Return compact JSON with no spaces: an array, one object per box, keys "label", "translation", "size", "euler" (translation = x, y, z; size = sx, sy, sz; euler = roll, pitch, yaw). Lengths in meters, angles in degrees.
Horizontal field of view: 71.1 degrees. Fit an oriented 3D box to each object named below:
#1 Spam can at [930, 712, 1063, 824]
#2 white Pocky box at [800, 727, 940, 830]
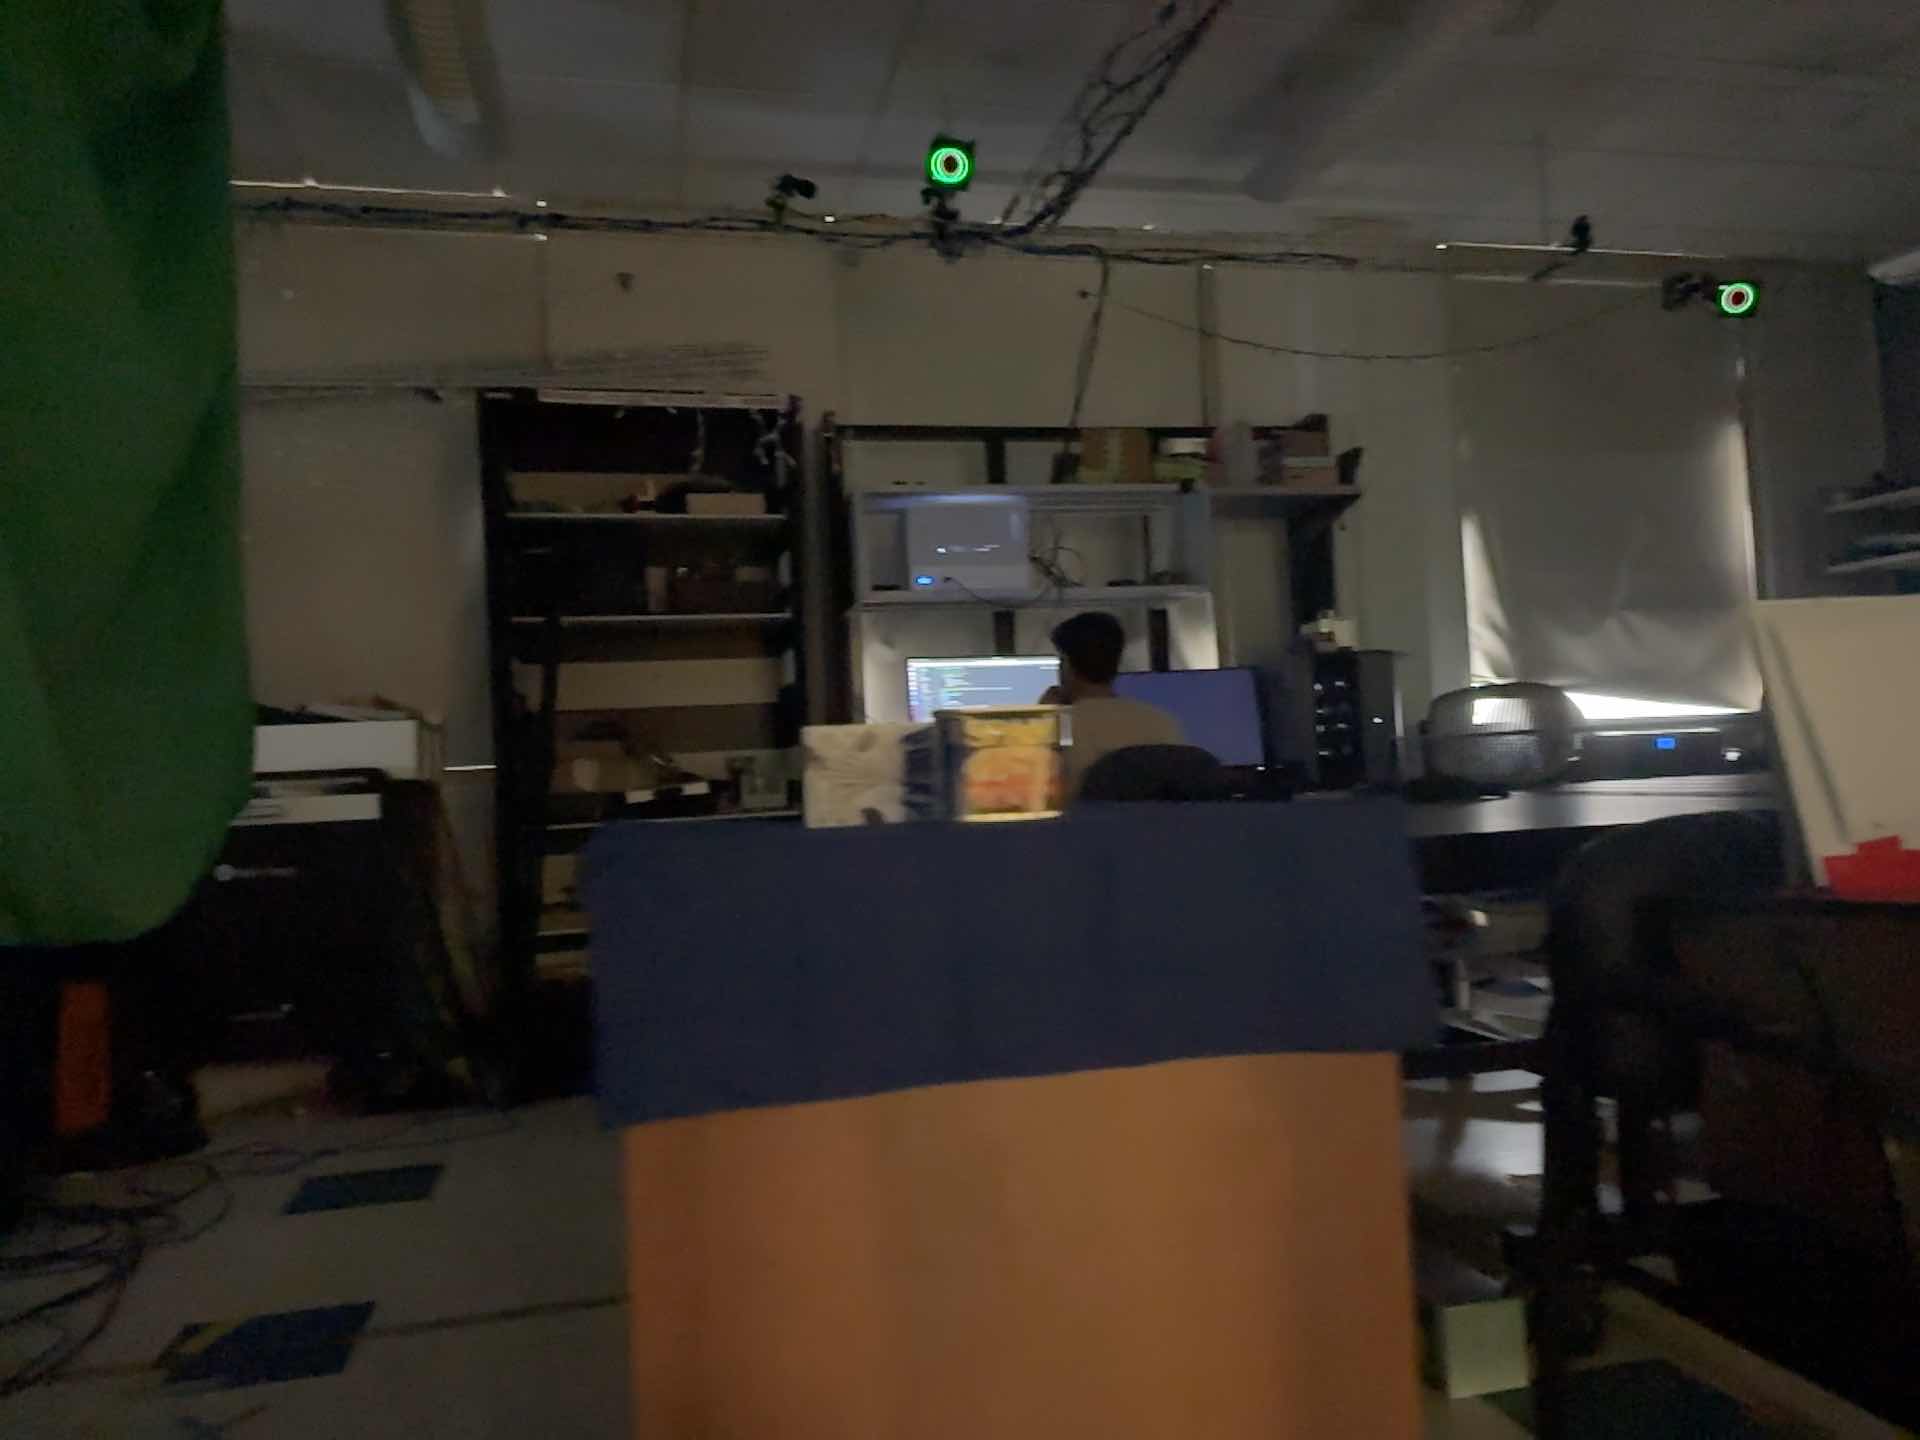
[{"label":"Spam can","translation":[0.029,0.038,1.061],"size":[0.100,0.083,0.056],"euler":[0,-4,-11]},{"label":"white Pocky box","translation":[-0.058,0.048,1.151],"size":[0.154,0.084,0.028],"euler":[-2,-4,-3]}]
